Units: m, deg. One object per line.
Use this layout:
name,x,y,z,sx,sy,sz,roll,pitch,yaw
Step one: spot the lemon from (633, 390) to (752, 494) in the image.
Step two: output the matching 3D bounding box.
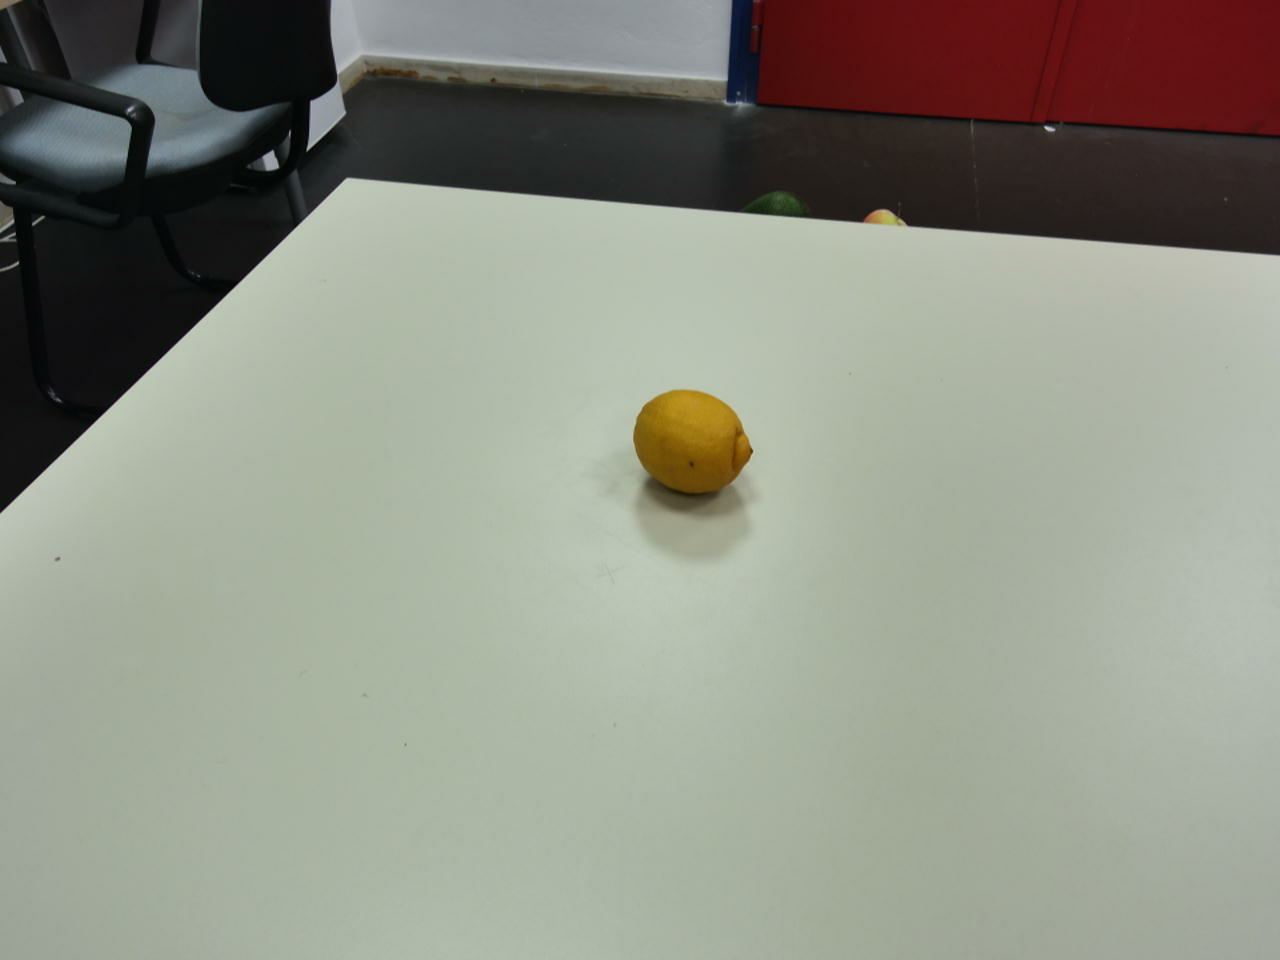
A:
lemon,0.030,-0.022,0.589,0.060,0.059,0.067,-24,45,-27
